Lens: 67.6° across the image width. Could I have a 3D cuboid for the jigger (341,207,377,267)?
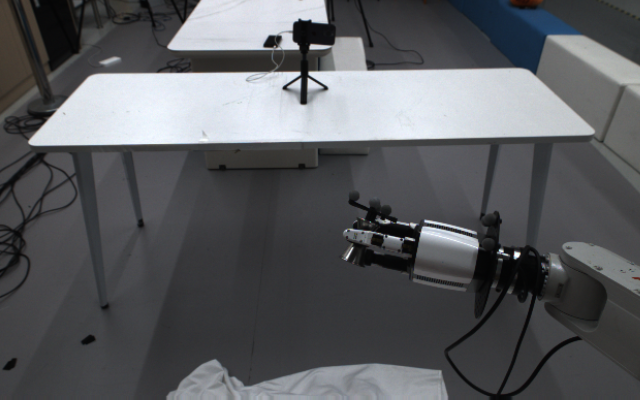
[{"bbox_3d":[0.060,0.062,0.740,0.043,0.071,0.043,24,-3,1],"label":"jigger"}]
